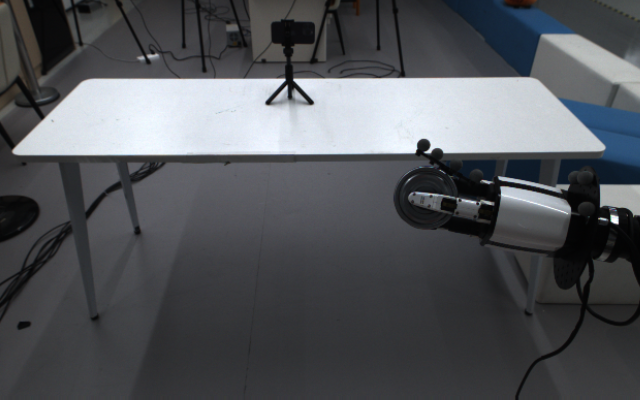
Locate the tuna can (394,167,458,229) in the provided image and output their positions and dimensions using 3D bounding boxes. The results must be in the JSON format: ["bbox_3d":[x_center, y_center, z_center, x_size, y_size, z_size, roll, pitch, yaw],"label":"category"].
[{"bbox_3d":[0.145,-0.005,0.654,0.085,0.085,0.034,13,5,15],"label":"tuna can"}]
